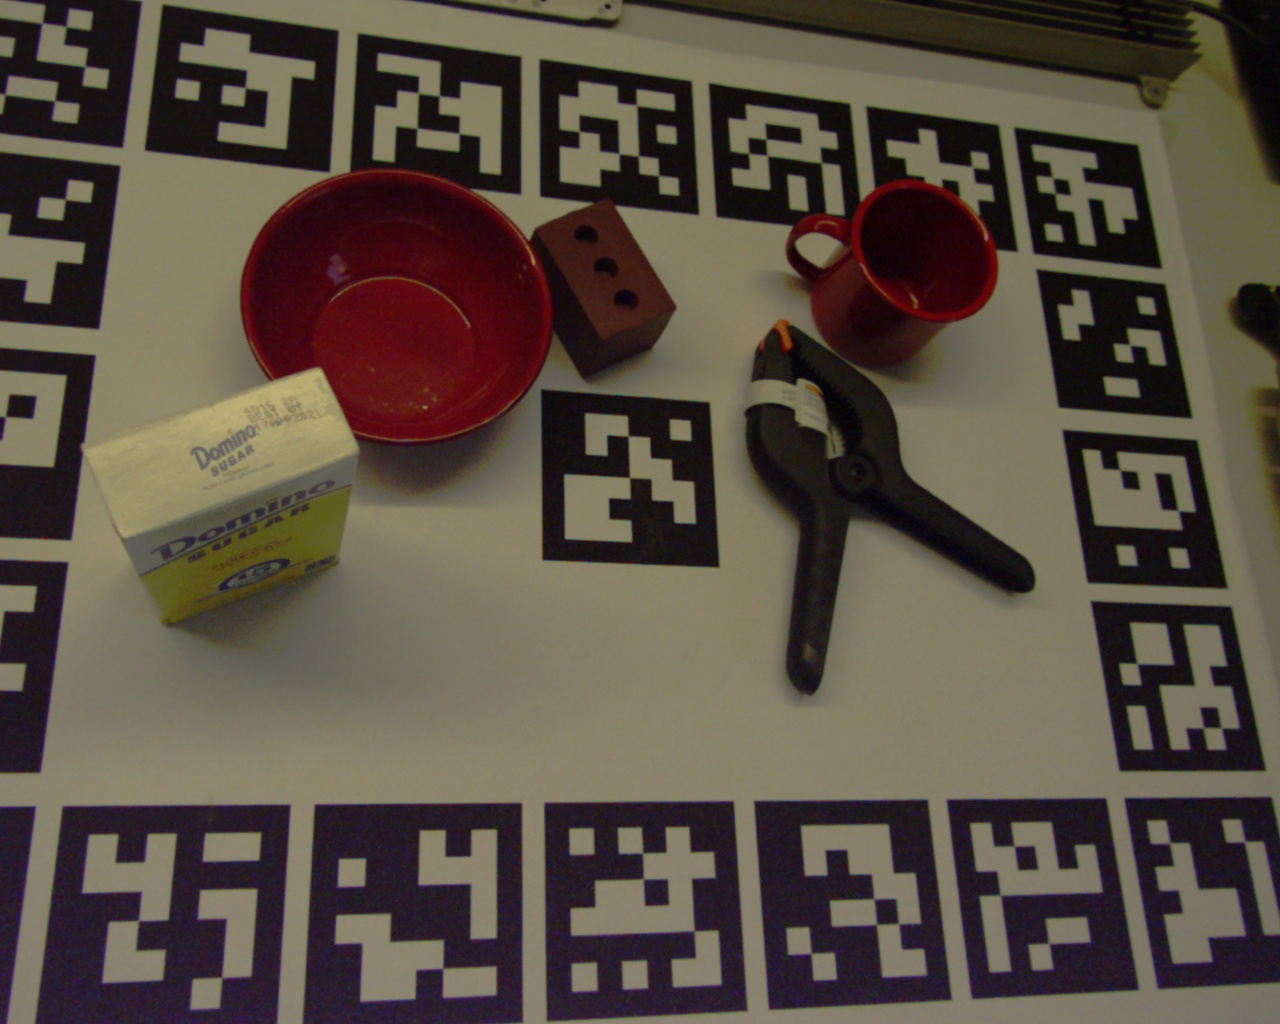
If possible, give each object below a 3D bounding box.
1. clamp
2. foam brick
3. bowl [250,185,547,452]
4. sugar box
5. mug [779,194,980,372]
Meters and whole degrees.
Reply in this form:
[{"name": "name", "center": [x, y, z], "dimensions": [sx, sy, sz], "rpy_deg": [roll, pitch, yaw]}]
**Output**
[{"name": "clamp", "center": [0.109, -0.018, 0.691], "dimensions": [0.164, 0.037, 0.203], "rpy_deg": [-22, 81, -18]}, {"name": "foam brick", "center": [-0.027, -0.121, 0.691], "dimensions": [0.052, 0.051, 0.078], "rpy_deg": [-26, 82, -20]}, {"name": "bowl", "center": [-0.137, -0.101, 0.648], "dimensions": [0.160, 0.055, 0.162], "rpy_deg": [4, 72, -15]}, {"name": "sugar box", "center": [-0.187, 0.006, 0.537], "dimensions": [0.092, 0.177, 0.045], "rpy_deg": [-23, 83, -22]}, {"name": "mug", "center": [0.141, -0.145, 0.718], "dimensions": [0.116, 0.082, 0.093], "rpy_deg": [28, 68, -9]}]
